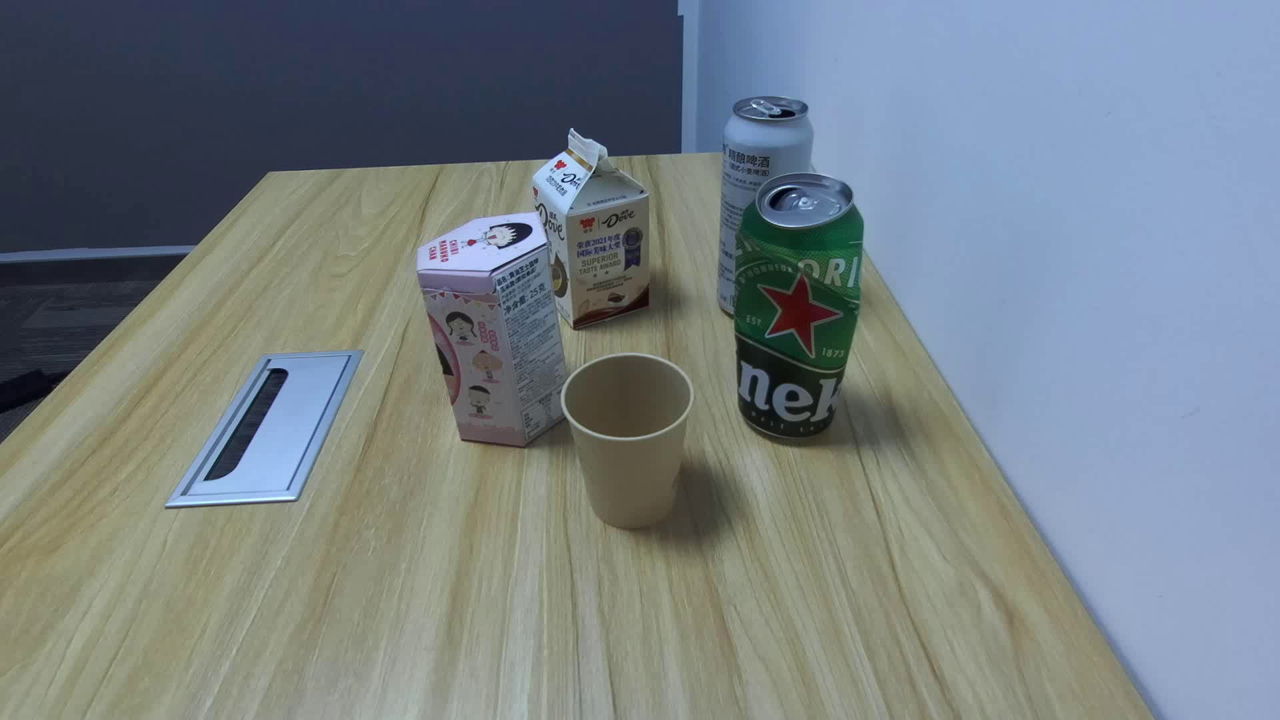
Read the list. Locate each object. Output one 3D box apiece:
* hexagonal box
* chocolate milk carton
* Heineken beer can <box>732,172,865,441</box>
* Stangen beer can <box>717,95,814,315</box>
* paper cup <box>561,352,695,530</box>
[{"bbox_3d":[-0.092,-0.020,0.469,0.085,0.135,0.092,-11,38,-11],"label":"hexagonal box"},{"bbox_3d":[-0.039,-0.111,0.574,0.074,0.148,0.075,-18,41,-20],"label":"chocolate milk carton"},{"bbox_3d":[0.097,-0.026,0.442,0.069,0.169,0.068,-6,38,-1],"label":"Heineken beer can"},{"bbox_3d":[0.096,-0.112,0.554,0.067,0.171,0.067,-1,35,1],"label":"Stangen beer can"},{"bbox_3d":[-0.006,0.051,0.416,0.075,0.082,0.075,-1,36,1],"label":"paper cup"}]
